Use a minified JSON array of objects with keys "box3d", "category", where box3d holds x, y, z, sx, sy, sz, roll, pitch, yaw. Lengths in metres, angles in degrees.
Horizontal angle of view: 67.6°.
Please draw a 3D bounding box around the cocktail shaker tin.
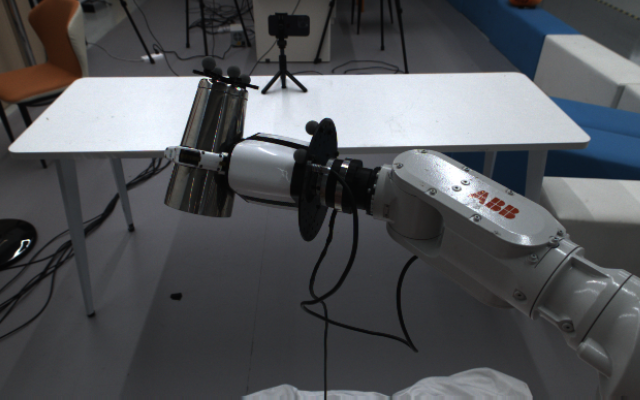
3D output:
[{"box3d":[-0.146,-0.069,0.652,0.093,0.170,0.093,13,5,-1],"category":"cocktail shaker tin"}]
